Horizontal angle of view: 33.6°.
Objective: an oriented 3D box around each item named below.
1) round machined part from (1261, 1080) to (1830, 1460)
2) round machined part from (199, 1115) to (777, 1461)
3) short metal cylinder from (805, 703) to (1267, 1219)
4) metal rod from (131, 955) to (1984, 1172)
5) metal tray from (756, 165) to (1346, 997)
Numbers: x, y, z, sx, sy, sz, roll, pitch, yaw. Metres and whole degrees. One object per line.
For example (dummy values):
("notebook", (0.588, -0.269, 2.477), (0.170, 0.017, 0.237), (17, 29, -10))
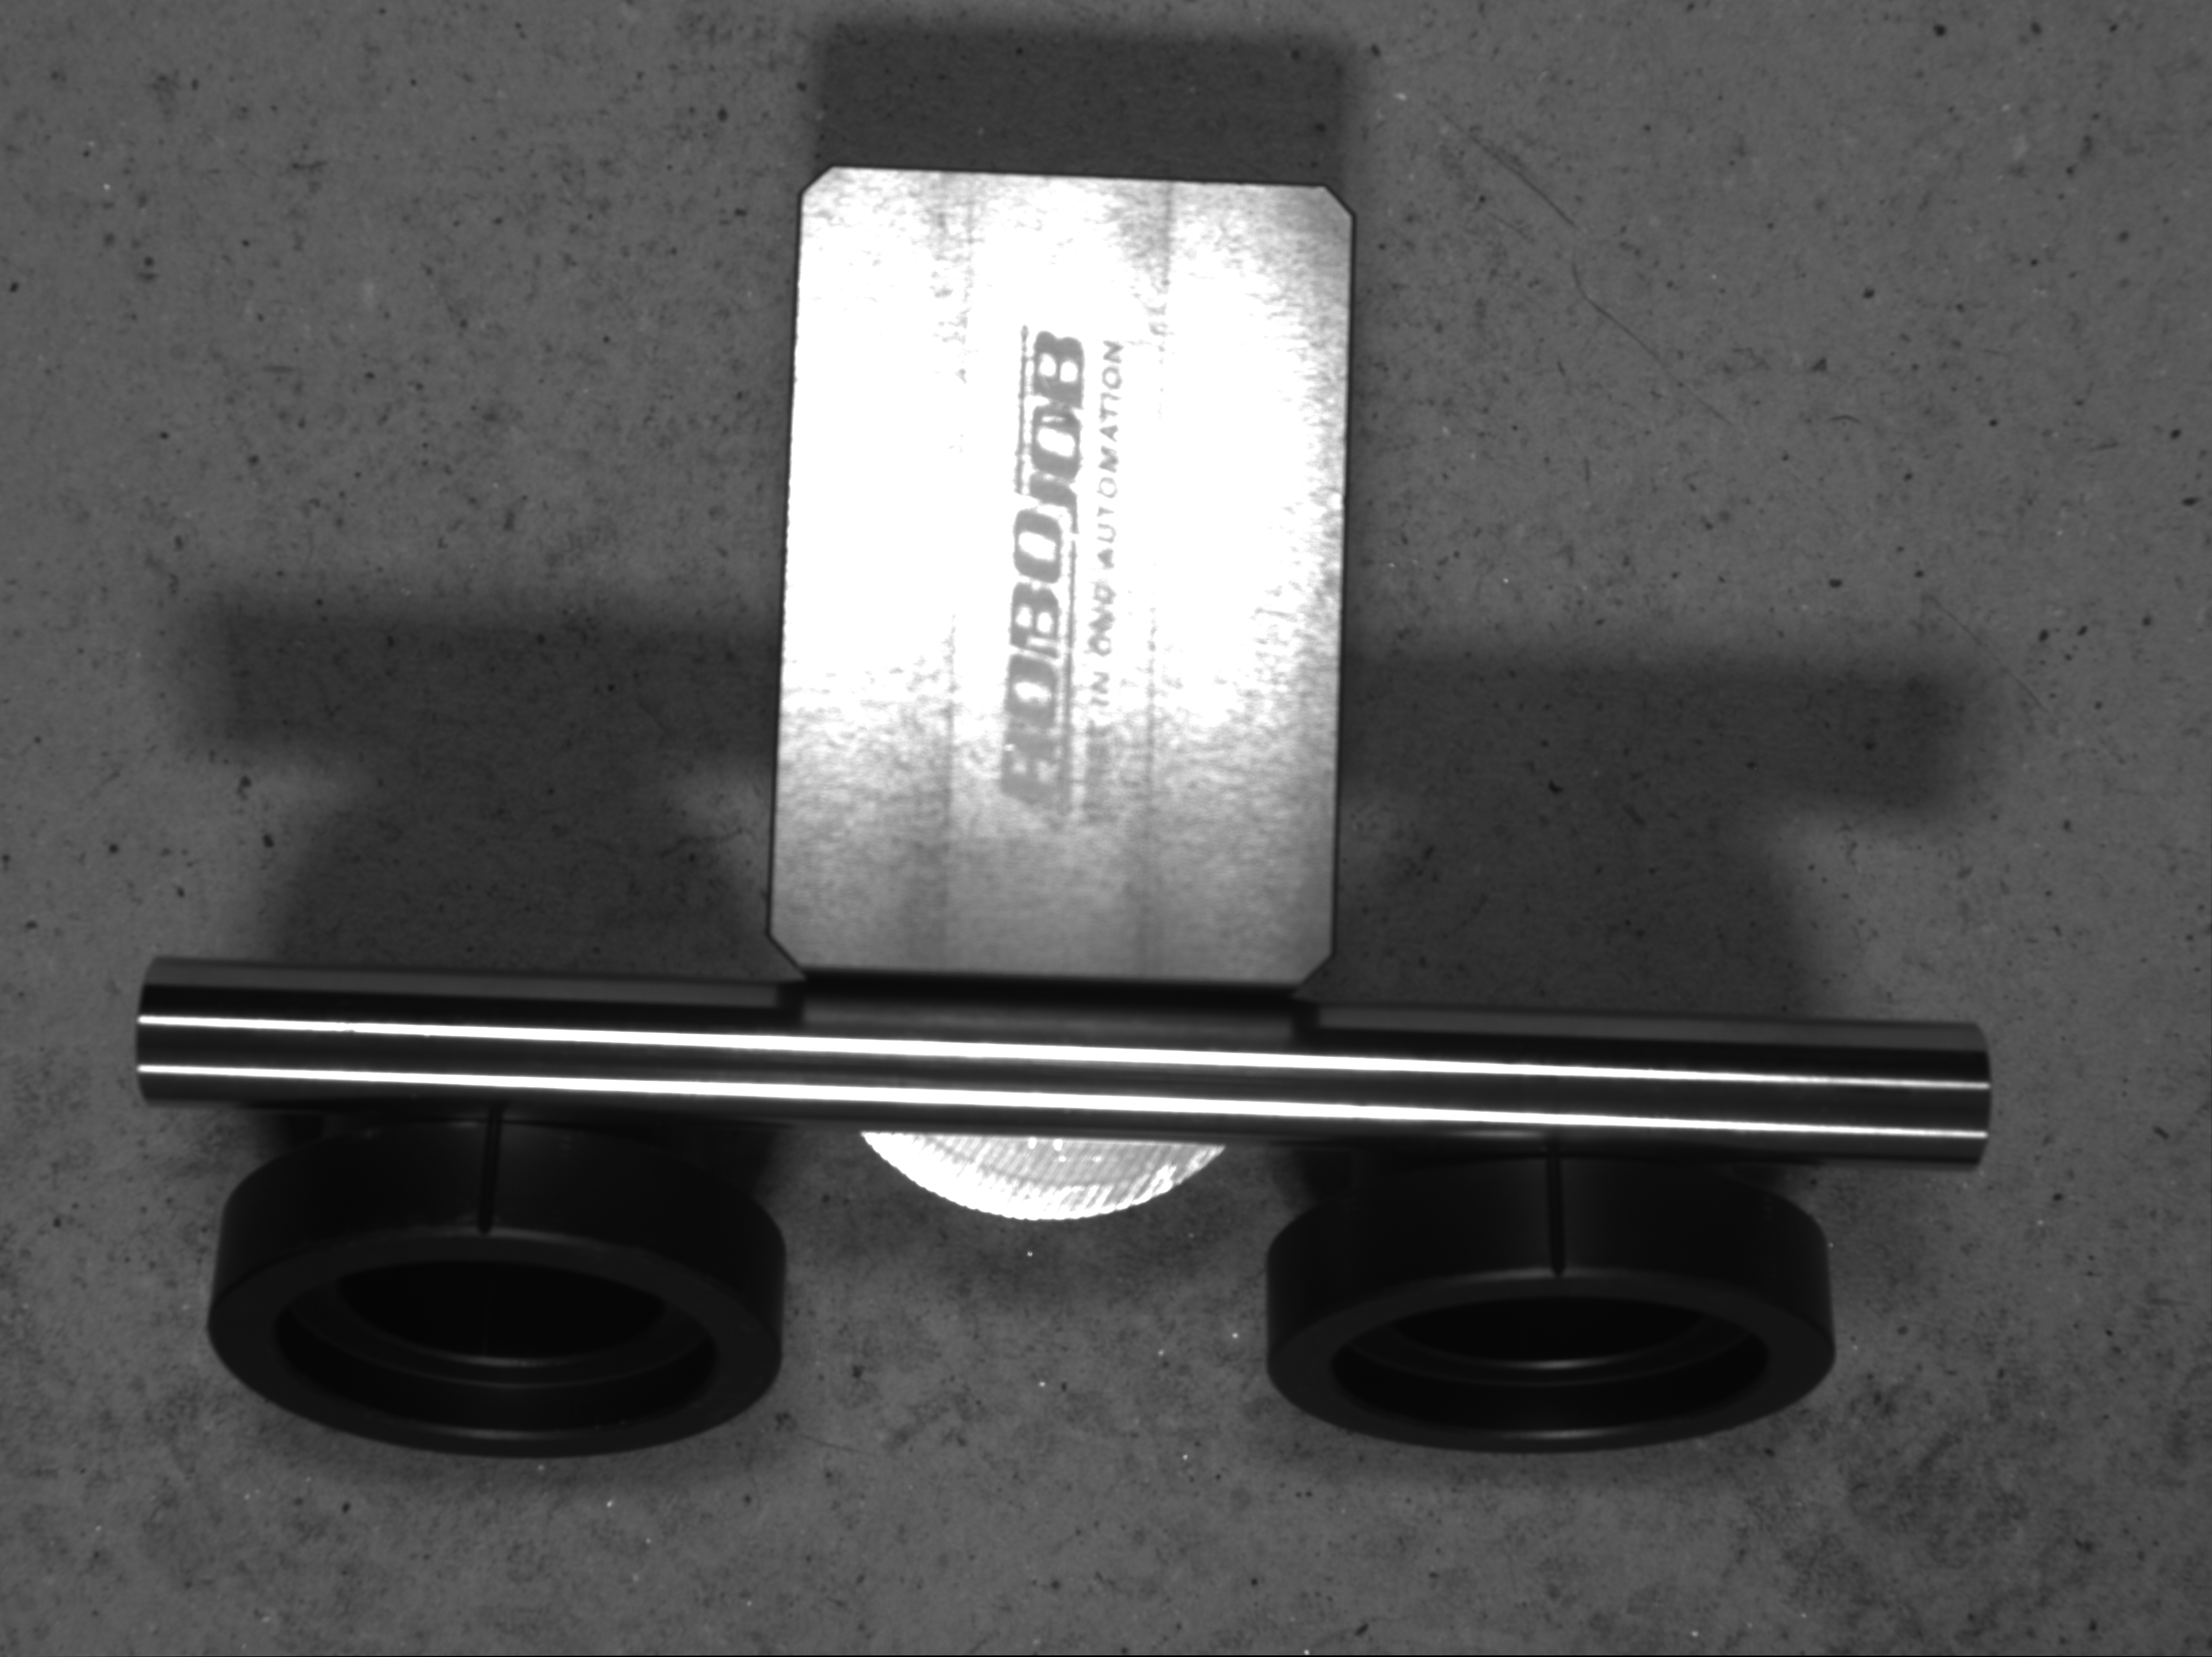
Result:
("round machined part", (0.076, 0.076, 0.644), (0.098, 0.042, 0.098), (0, 153, 0))
("round machined part", (-0.107, 0.073, 0.642), (0.098, 0.042, 0.098), (-1, 148, 0))
("short metal cylinder", (-0.012, 0.021, 0.638), (0.080, 0.050, 0.080), (0, 110, -1))
("metal rod", (-0.007, 0.039, 0.605), (0.300, 0.025, 0.025), (2, 110, -1))
("metal tray", (-0.008, -0.039, 0.597), (0.090, 0.030, 0.130), (2, 84, -1))
